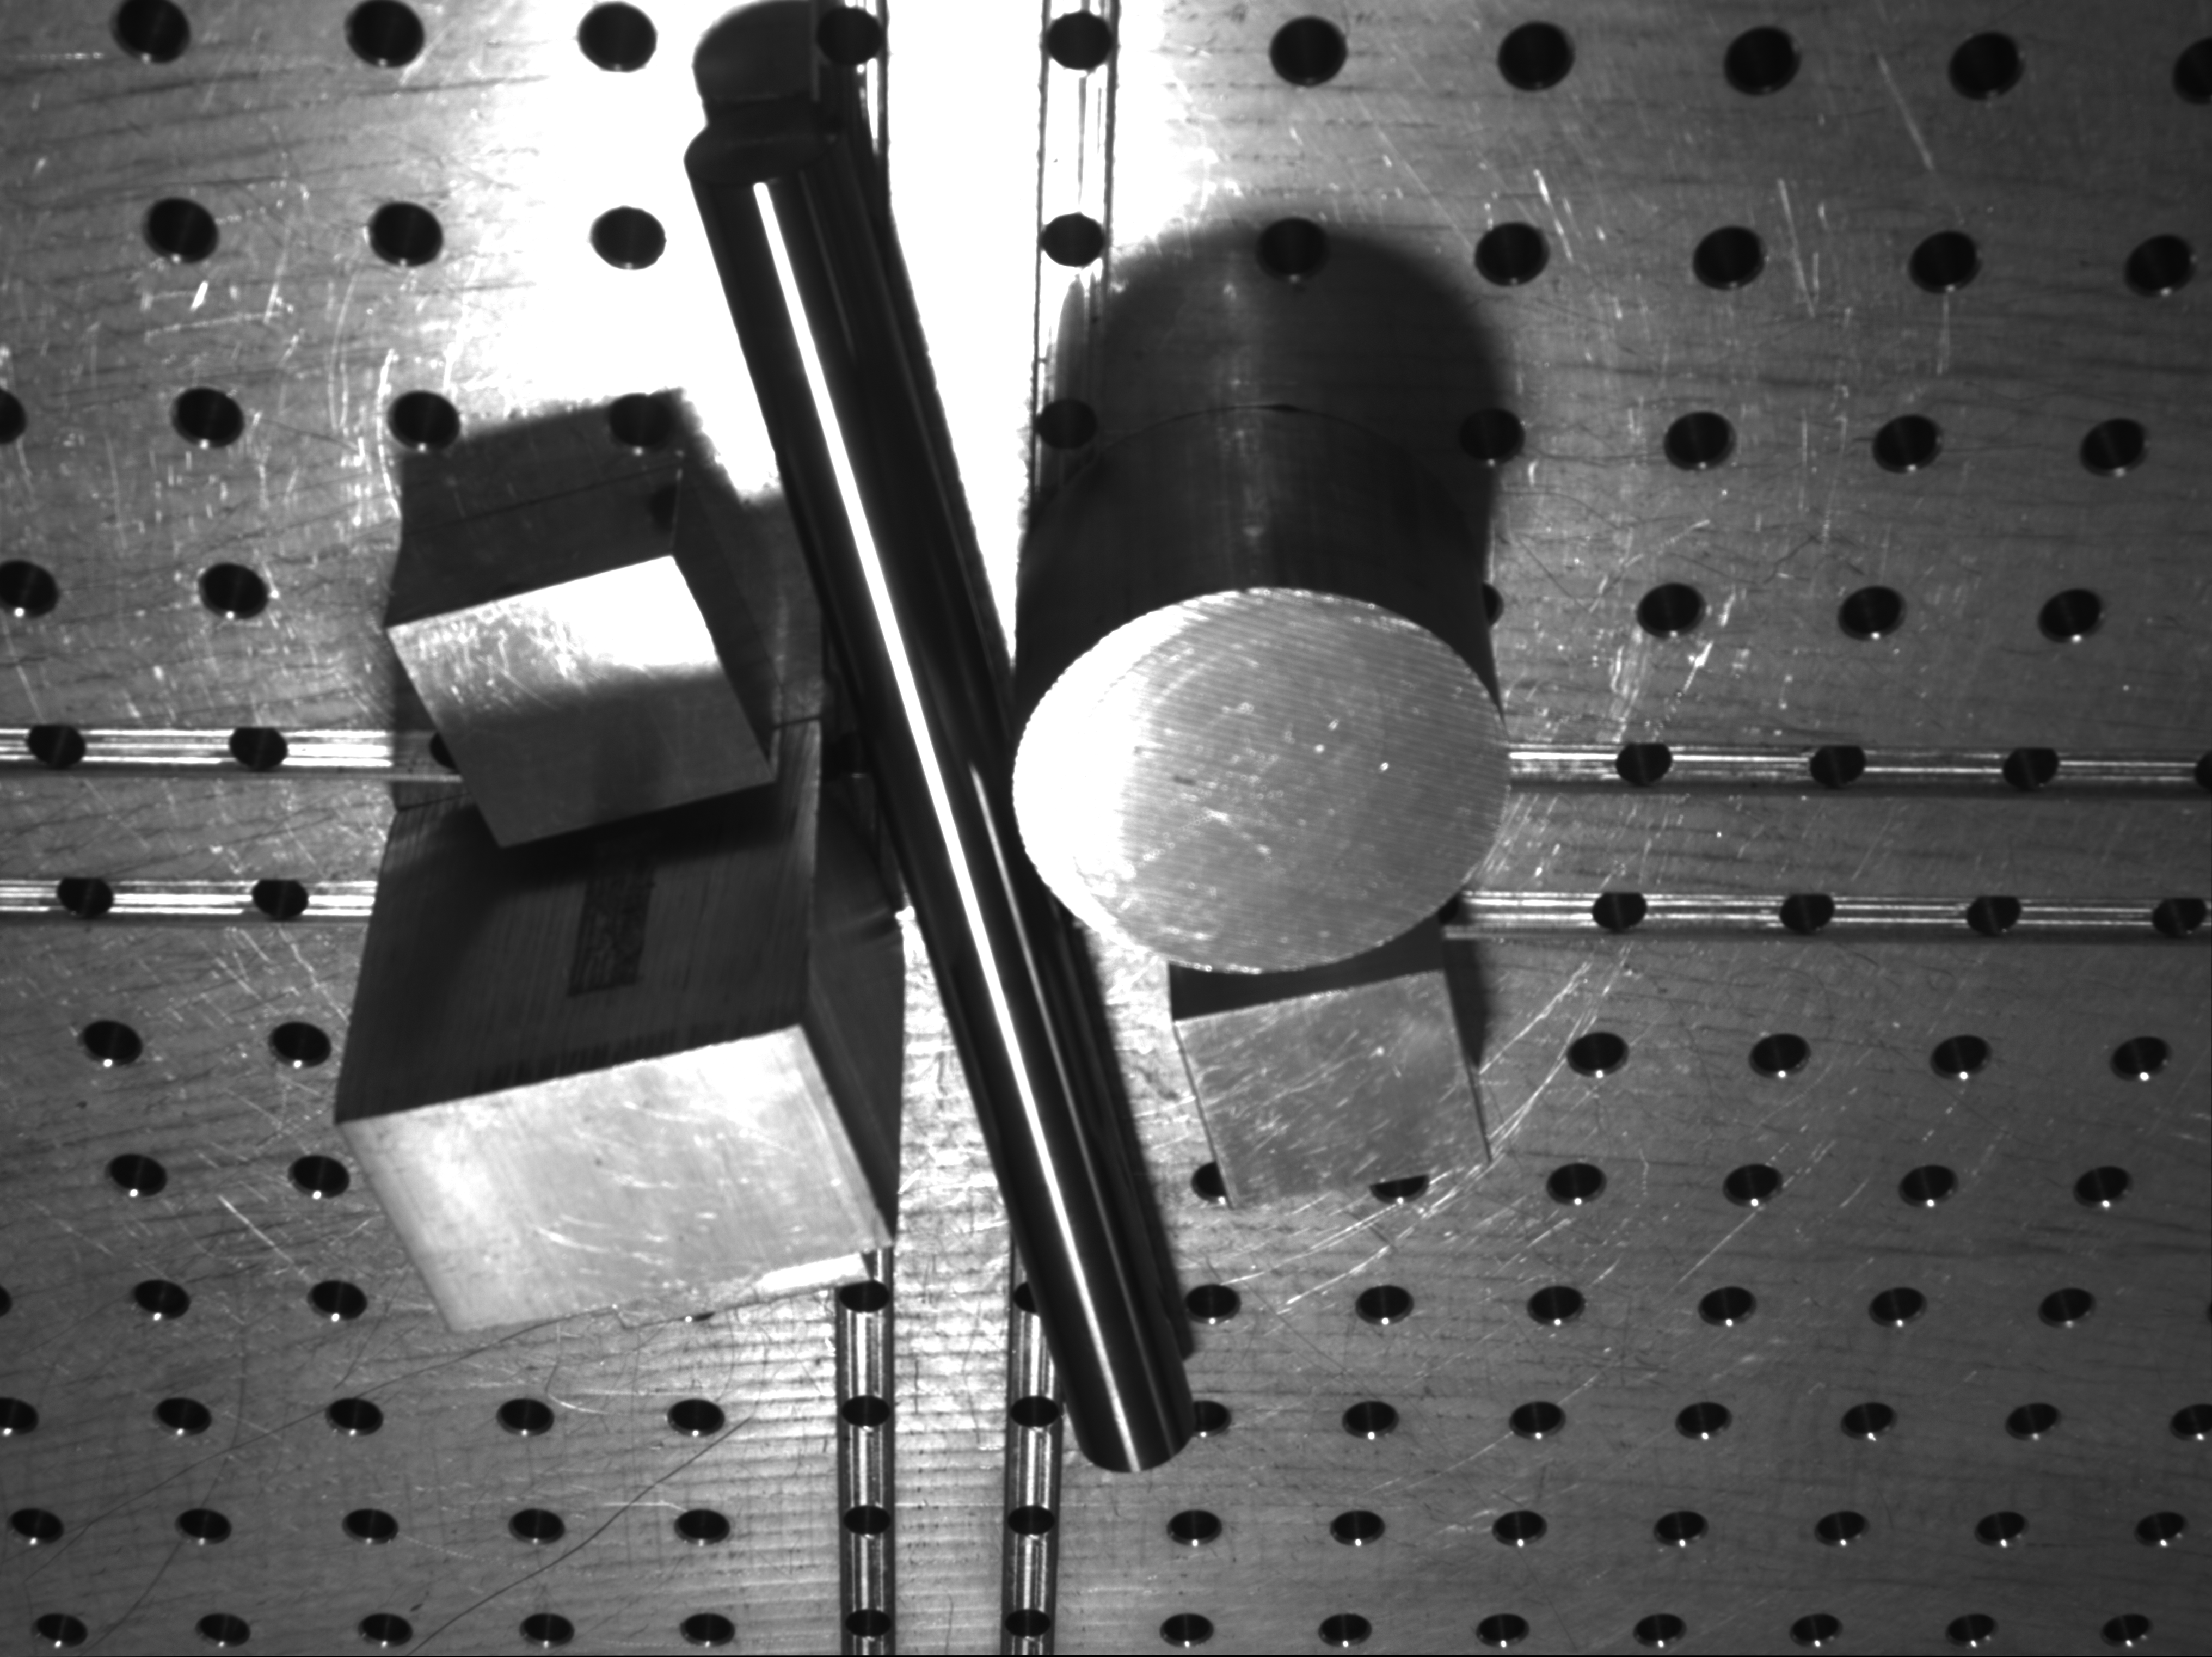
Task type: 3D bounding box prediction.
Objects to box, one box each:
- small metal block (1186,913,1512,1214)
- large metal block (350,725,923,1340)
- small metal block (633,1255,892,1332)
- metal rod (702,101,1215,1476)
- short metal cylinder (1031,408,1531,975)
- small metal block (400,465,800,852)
[{"bbox_3d":[0.045,0.041,0.677,0.050,0.025,0.050,-11,129,8],"label":"small metal block"},{"bbox_3d":[-0.078,0.034,0.630,0.080,0.080,0.050,-12,129,8],"label":"large metal block"},{"bbox_3d":[-0.072,0.065,0.693,0.050,0.025,0.050,-12,129,8],"label":"small metal block"},{"bbox_3d":[-0.019,0.009,0.648,0.025,0.025,0.300,-10,130,6],"label":"metal rod"},{"bbox_3d":[0.028,-0.022,0.607,0.080,0.050,0.080,-1,130,-1],"label":"short metal cylinder"},{"bbox_3d":[-0.084,-0.028,0.615,0.050,0.025,0.050,-13,129,9],"label":"small metal block"}]
